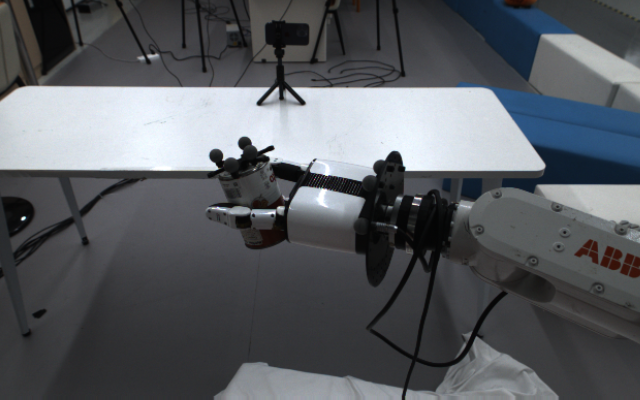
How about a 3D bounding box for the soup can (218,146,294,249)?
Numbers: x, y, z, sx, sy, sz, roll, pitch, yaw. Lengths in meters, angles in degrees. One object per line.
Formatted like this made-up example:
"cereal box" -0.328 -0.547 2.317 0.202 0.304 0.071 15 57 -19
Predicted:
"soup can" -0.078 0.003 0.611 0.067 0.101 0.067 -16 23 7
